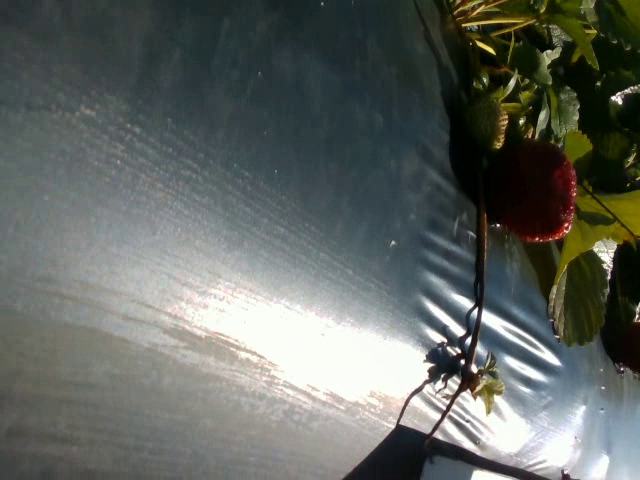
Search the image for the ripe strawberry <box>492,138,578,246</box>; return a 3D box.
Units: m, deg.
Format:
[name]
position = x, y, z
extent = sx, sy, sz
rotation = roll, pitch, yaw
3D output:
[ripe strawberry]
position = 0.085, -0.017, 0.234
extent = 0.043, 0.053, 0.042
rotation = -27, -45, 13
